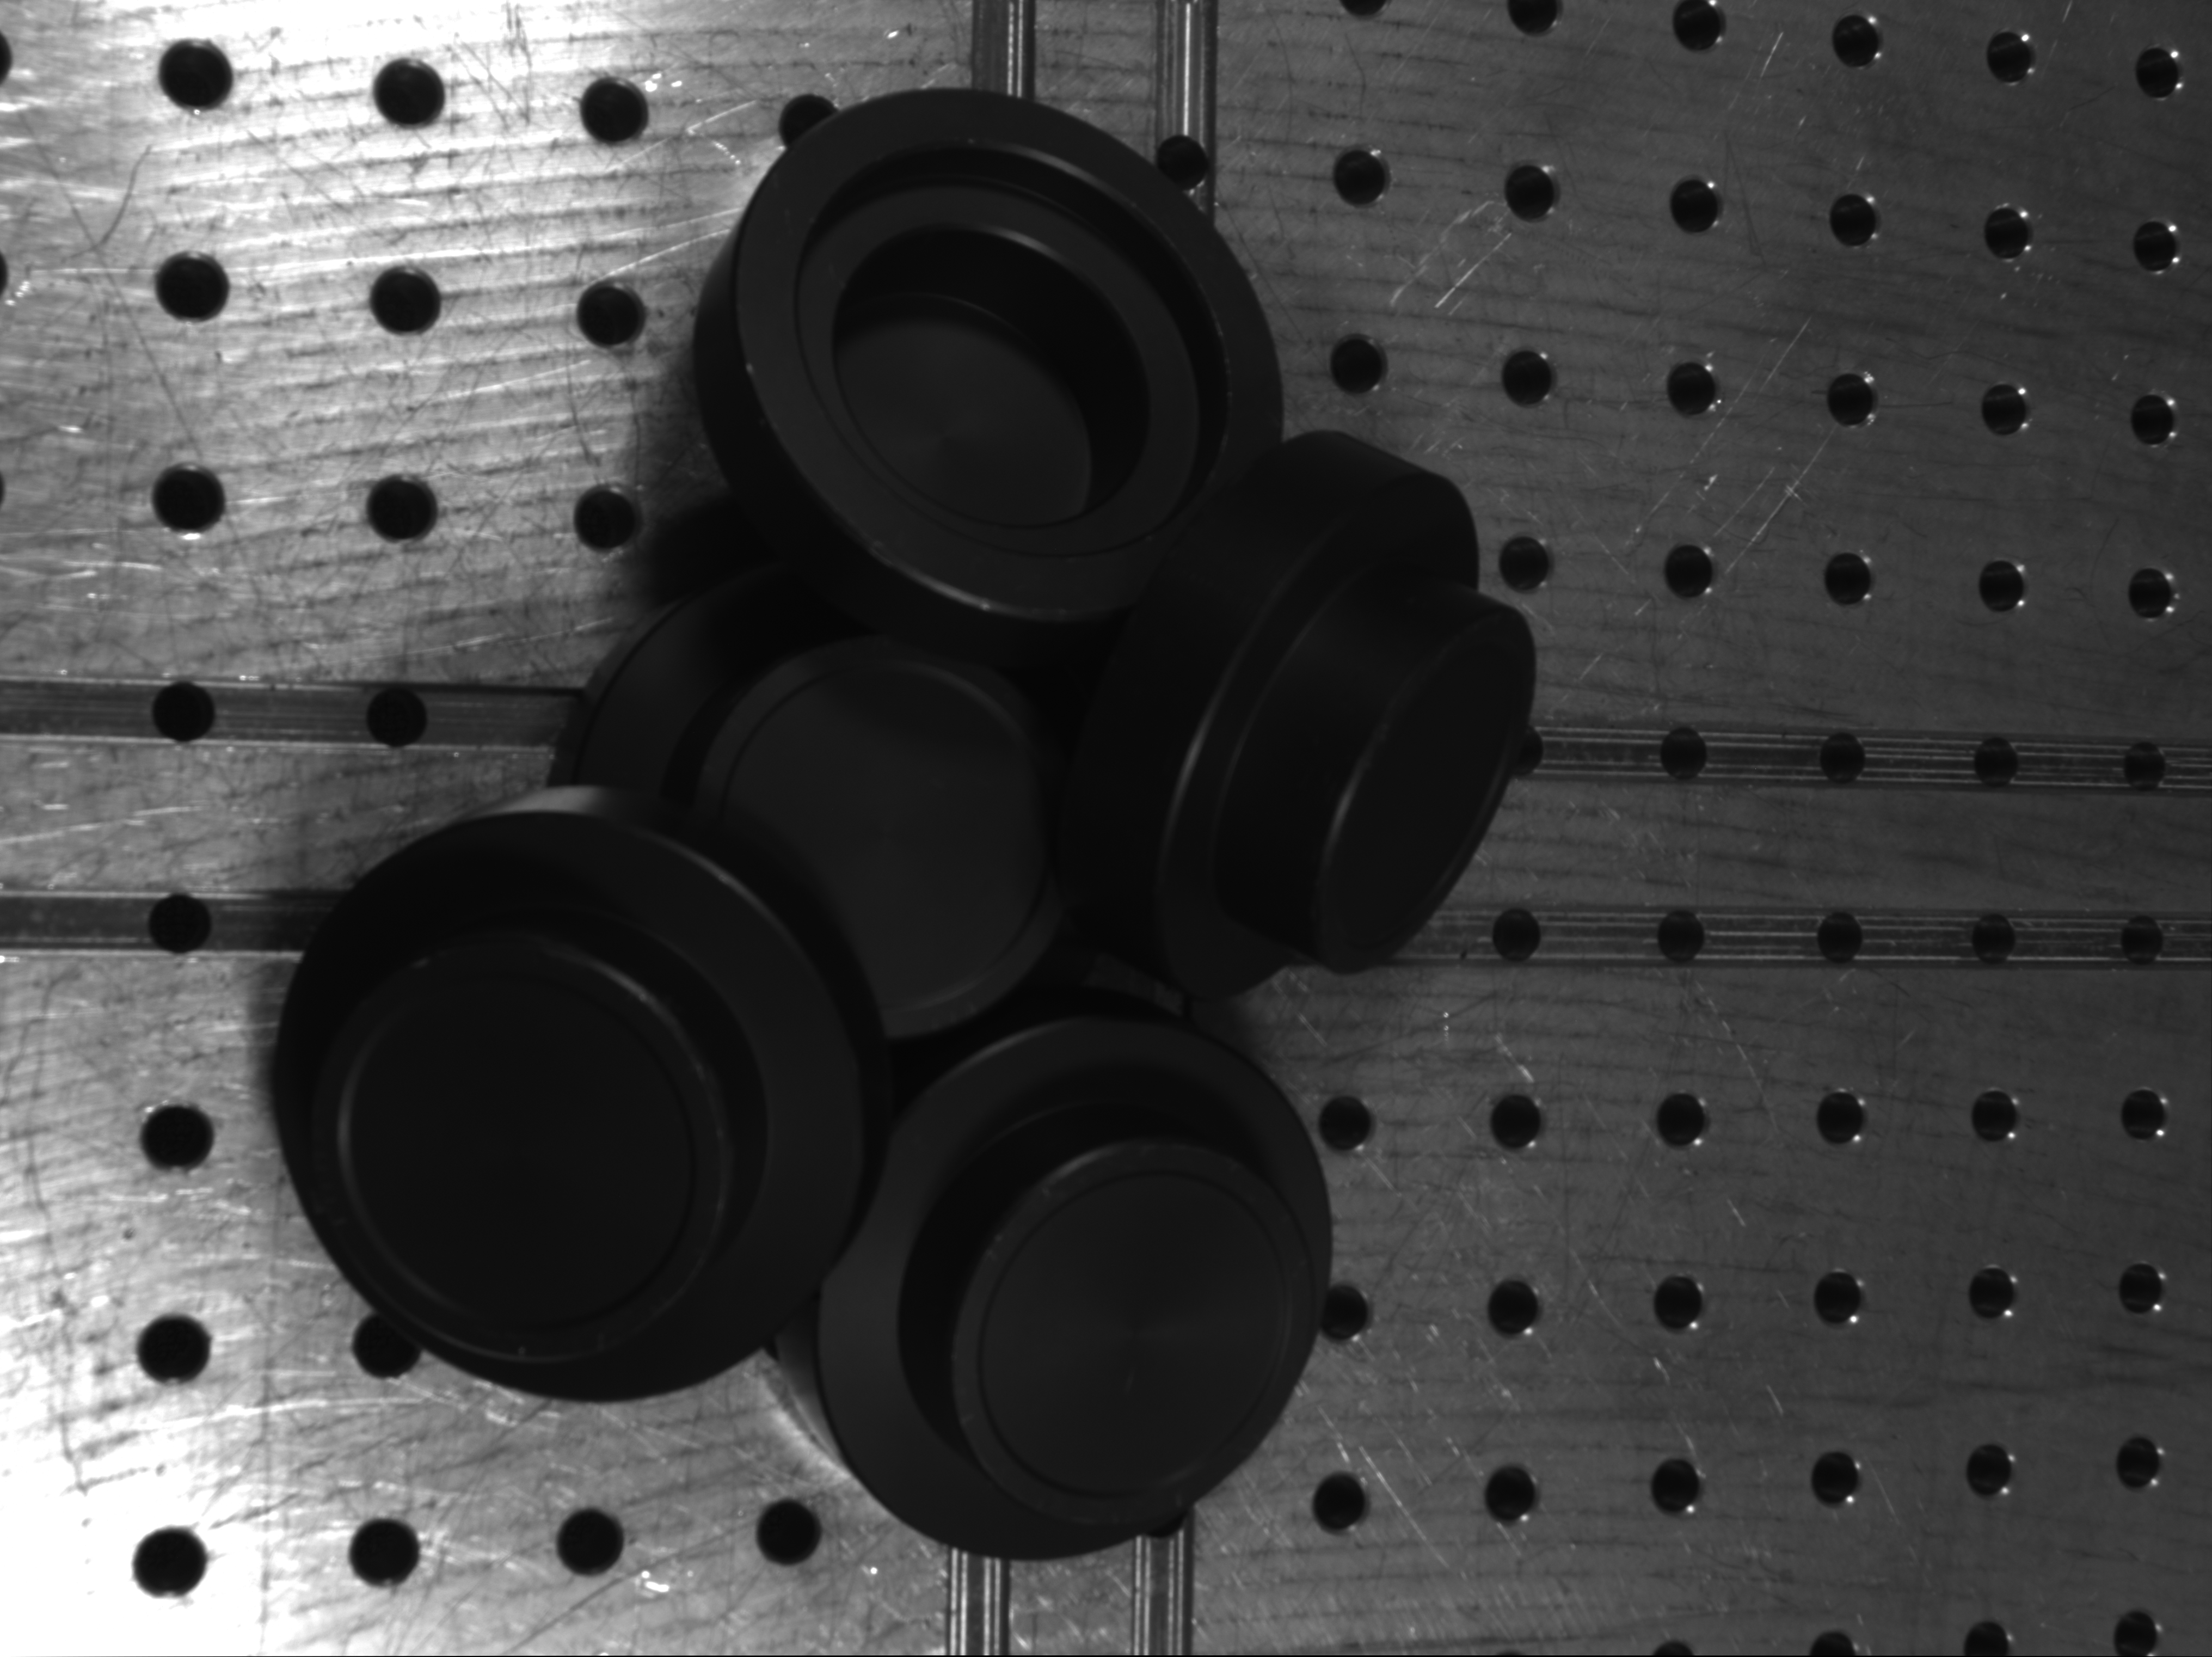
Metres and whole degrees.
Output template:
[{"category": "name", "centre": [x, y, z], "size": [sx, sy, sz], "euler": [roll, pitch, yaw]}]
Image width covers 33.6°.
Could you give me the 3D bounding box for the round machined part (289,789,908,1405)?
[{"category": "round machined part", "centre": [-0.084, 0.046, 0.581], "size": [0.098, 0.042, 0.098], "euler": [2, 102, 10]}]

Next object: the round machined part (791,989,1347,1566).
[{"category": "round machined part", "centre": [-0.002, 0.079, 0.623], "size": [0.098, 0.042, 0.098], "euler": [-6, 104, -25]}]

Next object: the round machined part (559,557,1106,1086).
[{"category": "round machined part", "centre": [-0.041, 0.001, 0.621], "size": [0.098, 0.042, 0.098], "euler": [0, 90, -20]}]

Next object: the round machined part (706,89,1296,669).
[{"category": "round machined part", "centre": [-0.021, -0.071, 0.617], "size": [0.098, 0.042, 0.098], "euler": [10, 65, -21]}]

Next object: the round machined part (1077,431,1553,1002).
[{"category": "round machined part", "centre": [0.040, -0.014, 0.620], "size": [0.042, 0.098, 0.098], "euler": [27, 78, 24]}]
